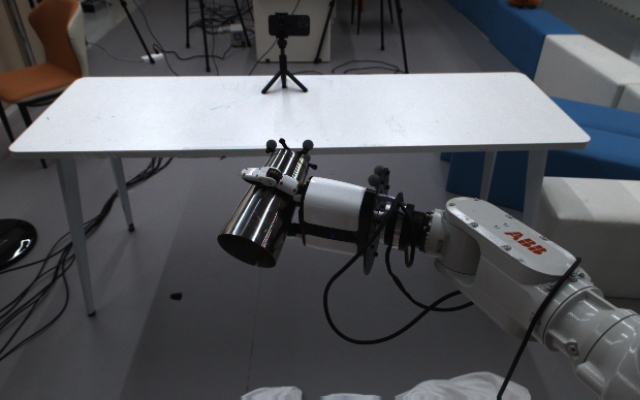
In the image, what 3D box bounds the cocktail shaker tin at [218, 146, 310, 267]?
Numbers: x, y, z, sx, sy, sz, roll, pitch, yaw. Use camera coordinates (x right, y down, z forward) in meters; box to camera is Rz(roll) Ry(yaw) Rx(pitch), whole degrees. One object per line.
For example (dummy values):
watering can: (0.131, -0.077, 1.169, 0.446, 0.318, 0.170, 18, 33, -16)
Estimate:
cocktail shaker tin: (-0.079, 0.006, 0.734, 0.093, 0.093, 0.170, 14, 58, 16)
